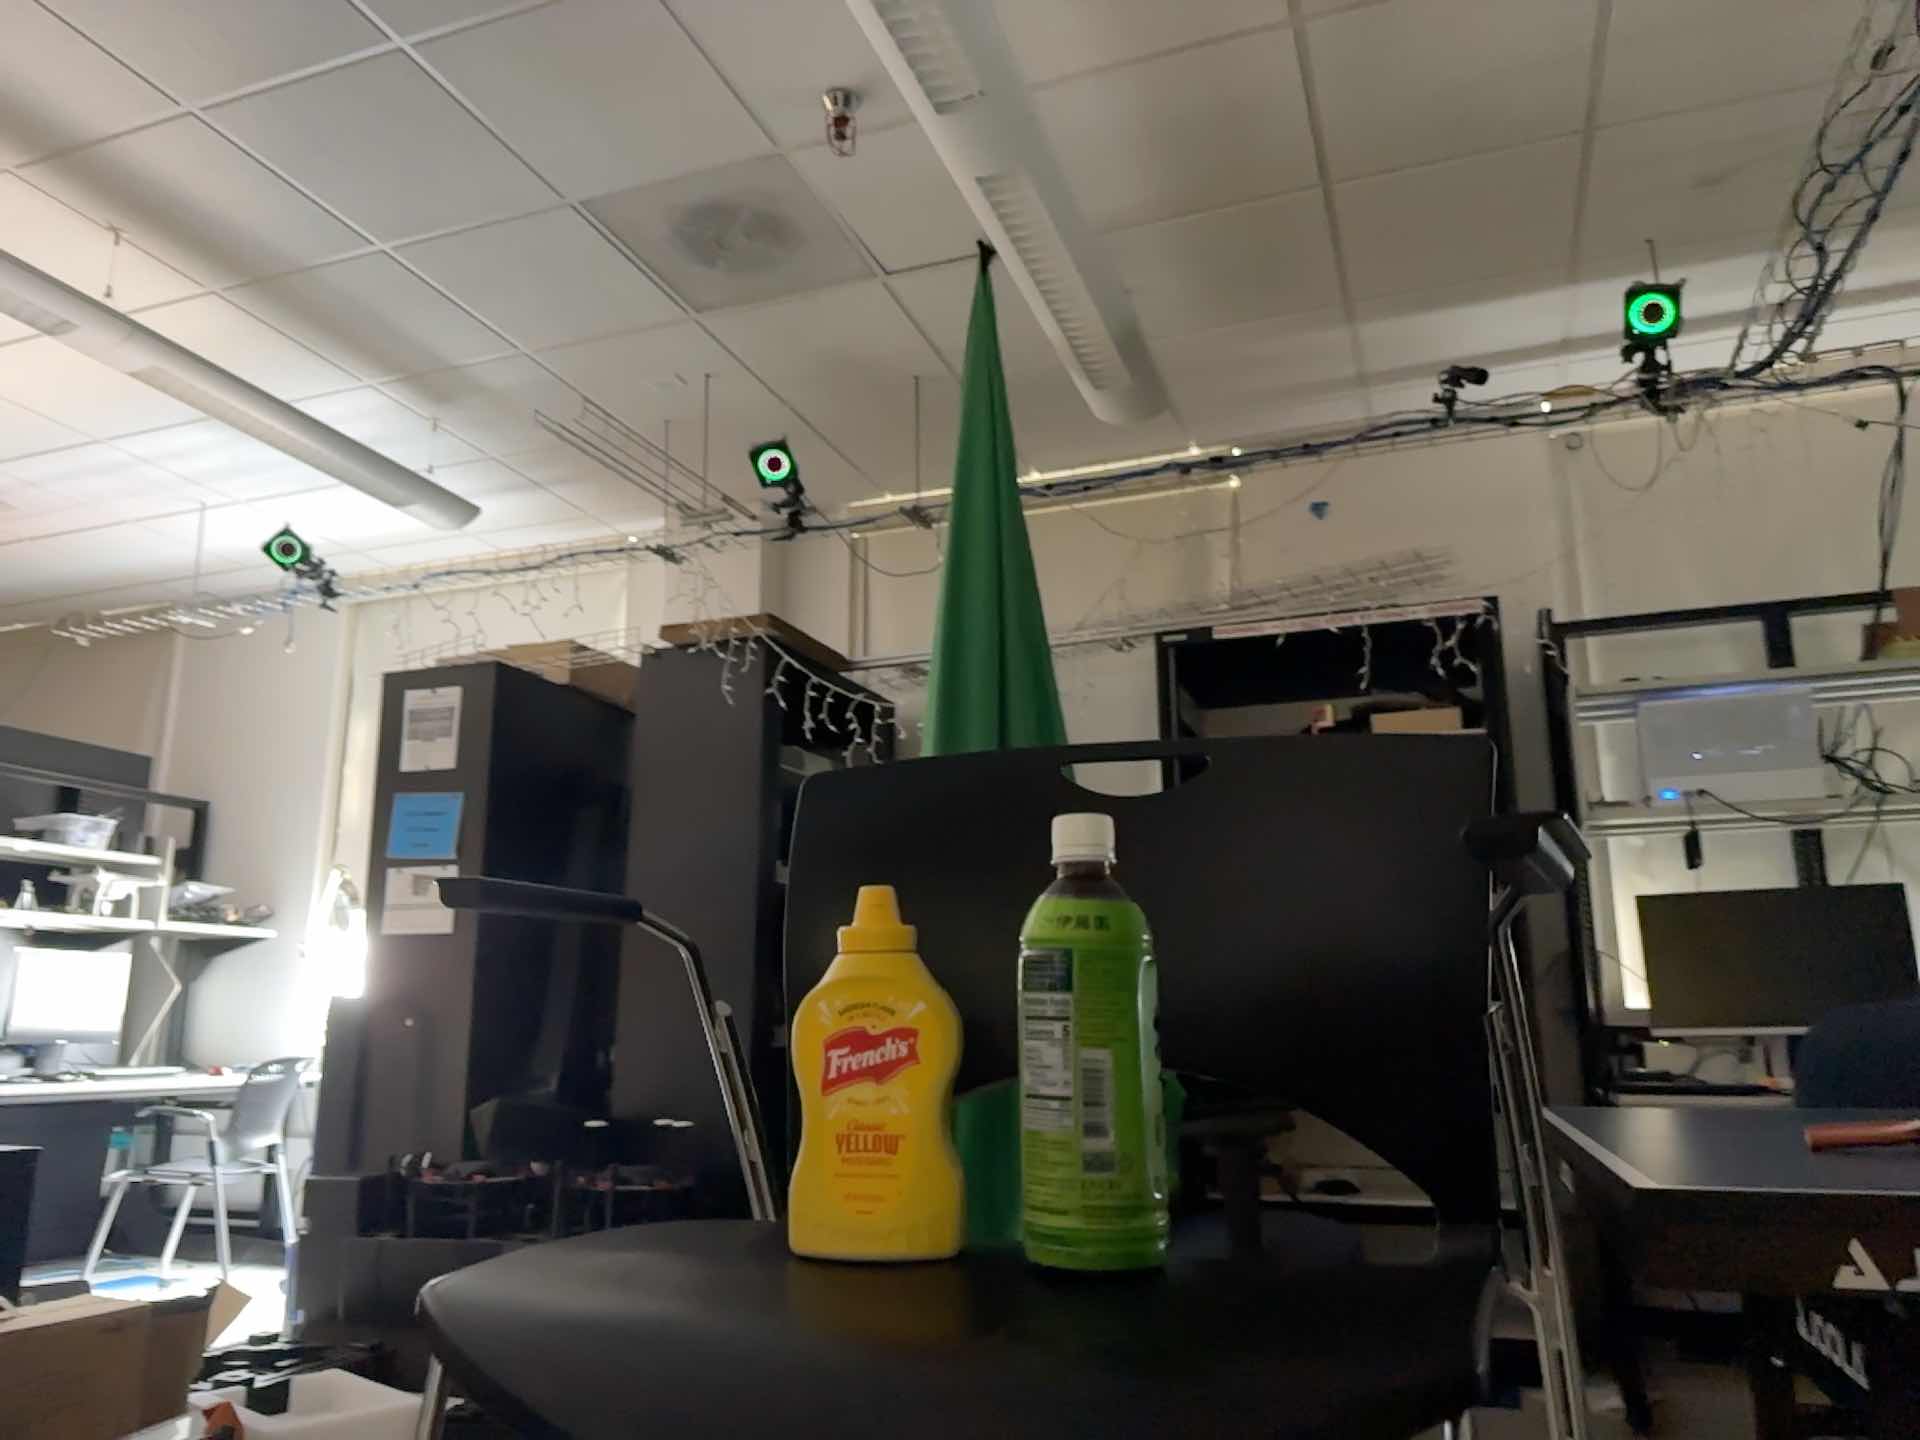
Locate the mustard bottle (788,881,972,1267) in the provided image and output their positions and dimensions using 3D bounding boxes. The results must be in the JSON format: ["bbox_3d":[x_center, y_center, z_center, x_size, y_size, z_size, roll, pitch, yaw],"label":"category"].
[{"bbox_3d":[-0.041,0.173,0.679,0.092,0.184,0.054,-3,-11,16],"label":"mustard bottle"}]

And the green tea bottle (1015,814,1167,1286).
[{"bbox_3d":[0.061,0.151,0.642,0.073,0.212,0.073,1,-9,0],"label":"green tea bottle"}]
